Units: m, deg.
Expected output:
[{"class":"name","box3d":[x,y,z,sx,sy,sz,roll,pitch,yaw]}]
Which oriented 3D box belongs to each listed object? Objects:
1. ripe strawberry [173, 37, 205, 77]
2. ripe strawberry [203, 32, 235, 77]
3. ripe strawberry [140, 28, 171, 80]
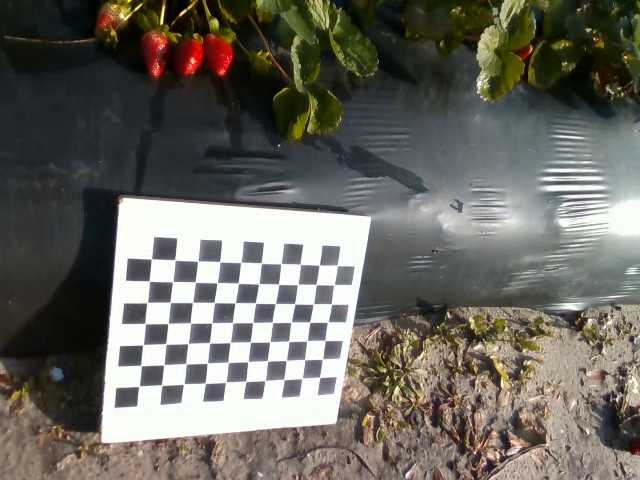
[{"class":"ripe strawberry","box3d":[-0.122,-0.168,0.581,0.030,0.037,0.039,13,33,-24]},{"class":"ripe strawberry","box3d":[-0.097,-0.168,0.596,0.035,0.041,0.034,-2,-37,-21]},{"class":"ripe strawberry","box3d":[-0.151,-0.170,0.576,0.031,0.046,0.023,2,-3,-22]}]
